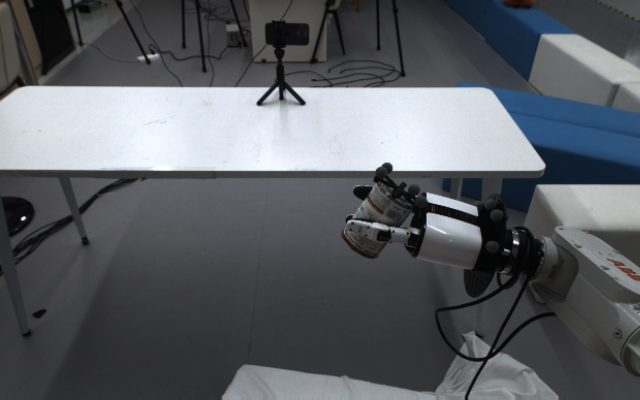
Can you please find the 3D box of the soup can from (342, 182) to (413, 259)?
[{"bbox_3d":[0.088,0.029,0.726,0.067,0.101,0.067,28,22,-12],"label":"soup can"}]
